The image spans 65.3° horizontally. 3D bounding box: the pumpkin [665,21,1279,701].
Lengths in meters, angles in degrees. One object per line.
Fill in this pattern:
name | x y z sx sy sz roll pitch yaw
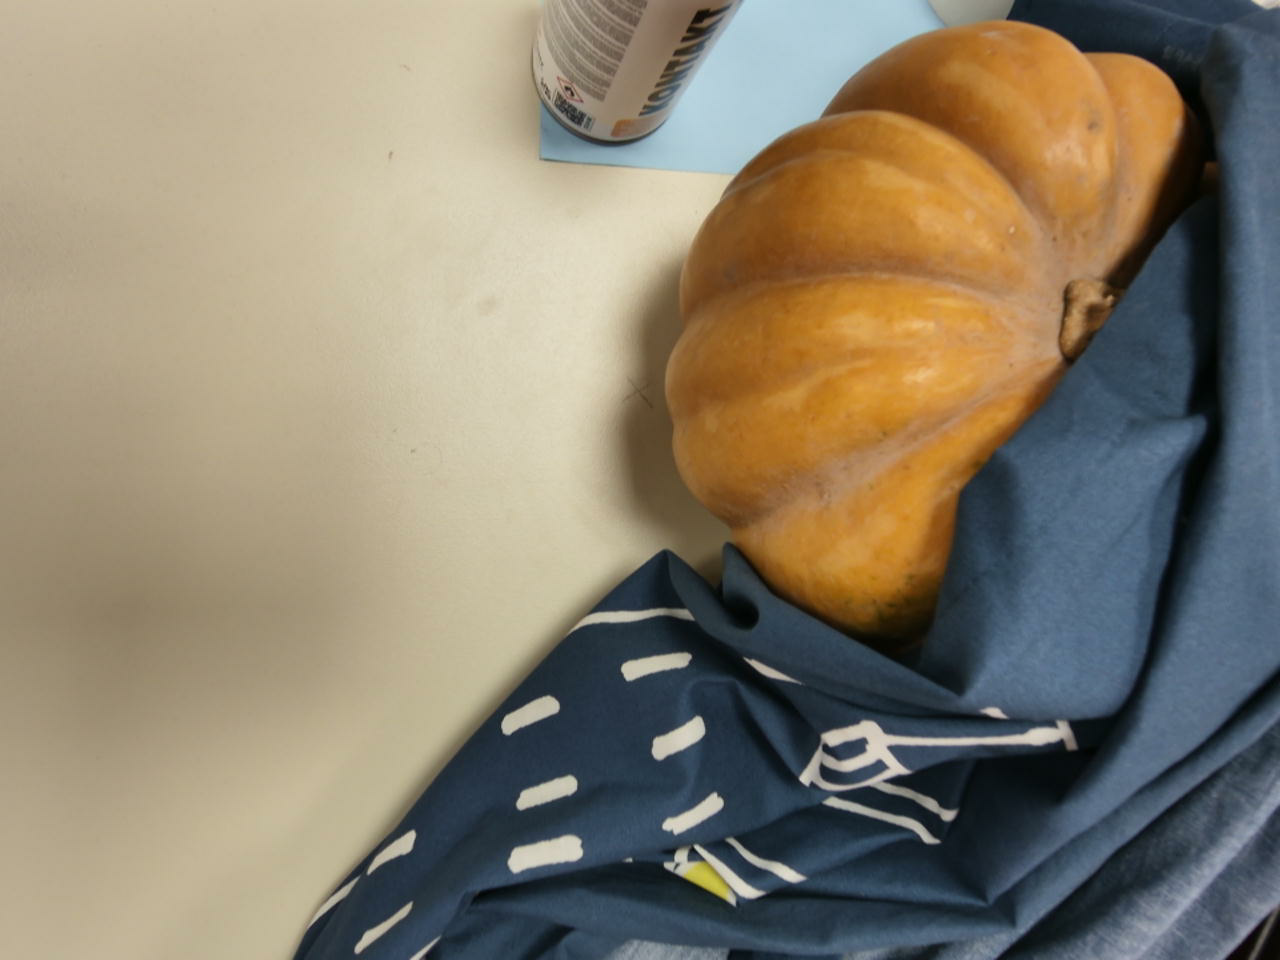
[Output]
pumpkin | 0.120 -0.035 0.362 0.230 0.194 0.230 0 91 -12
